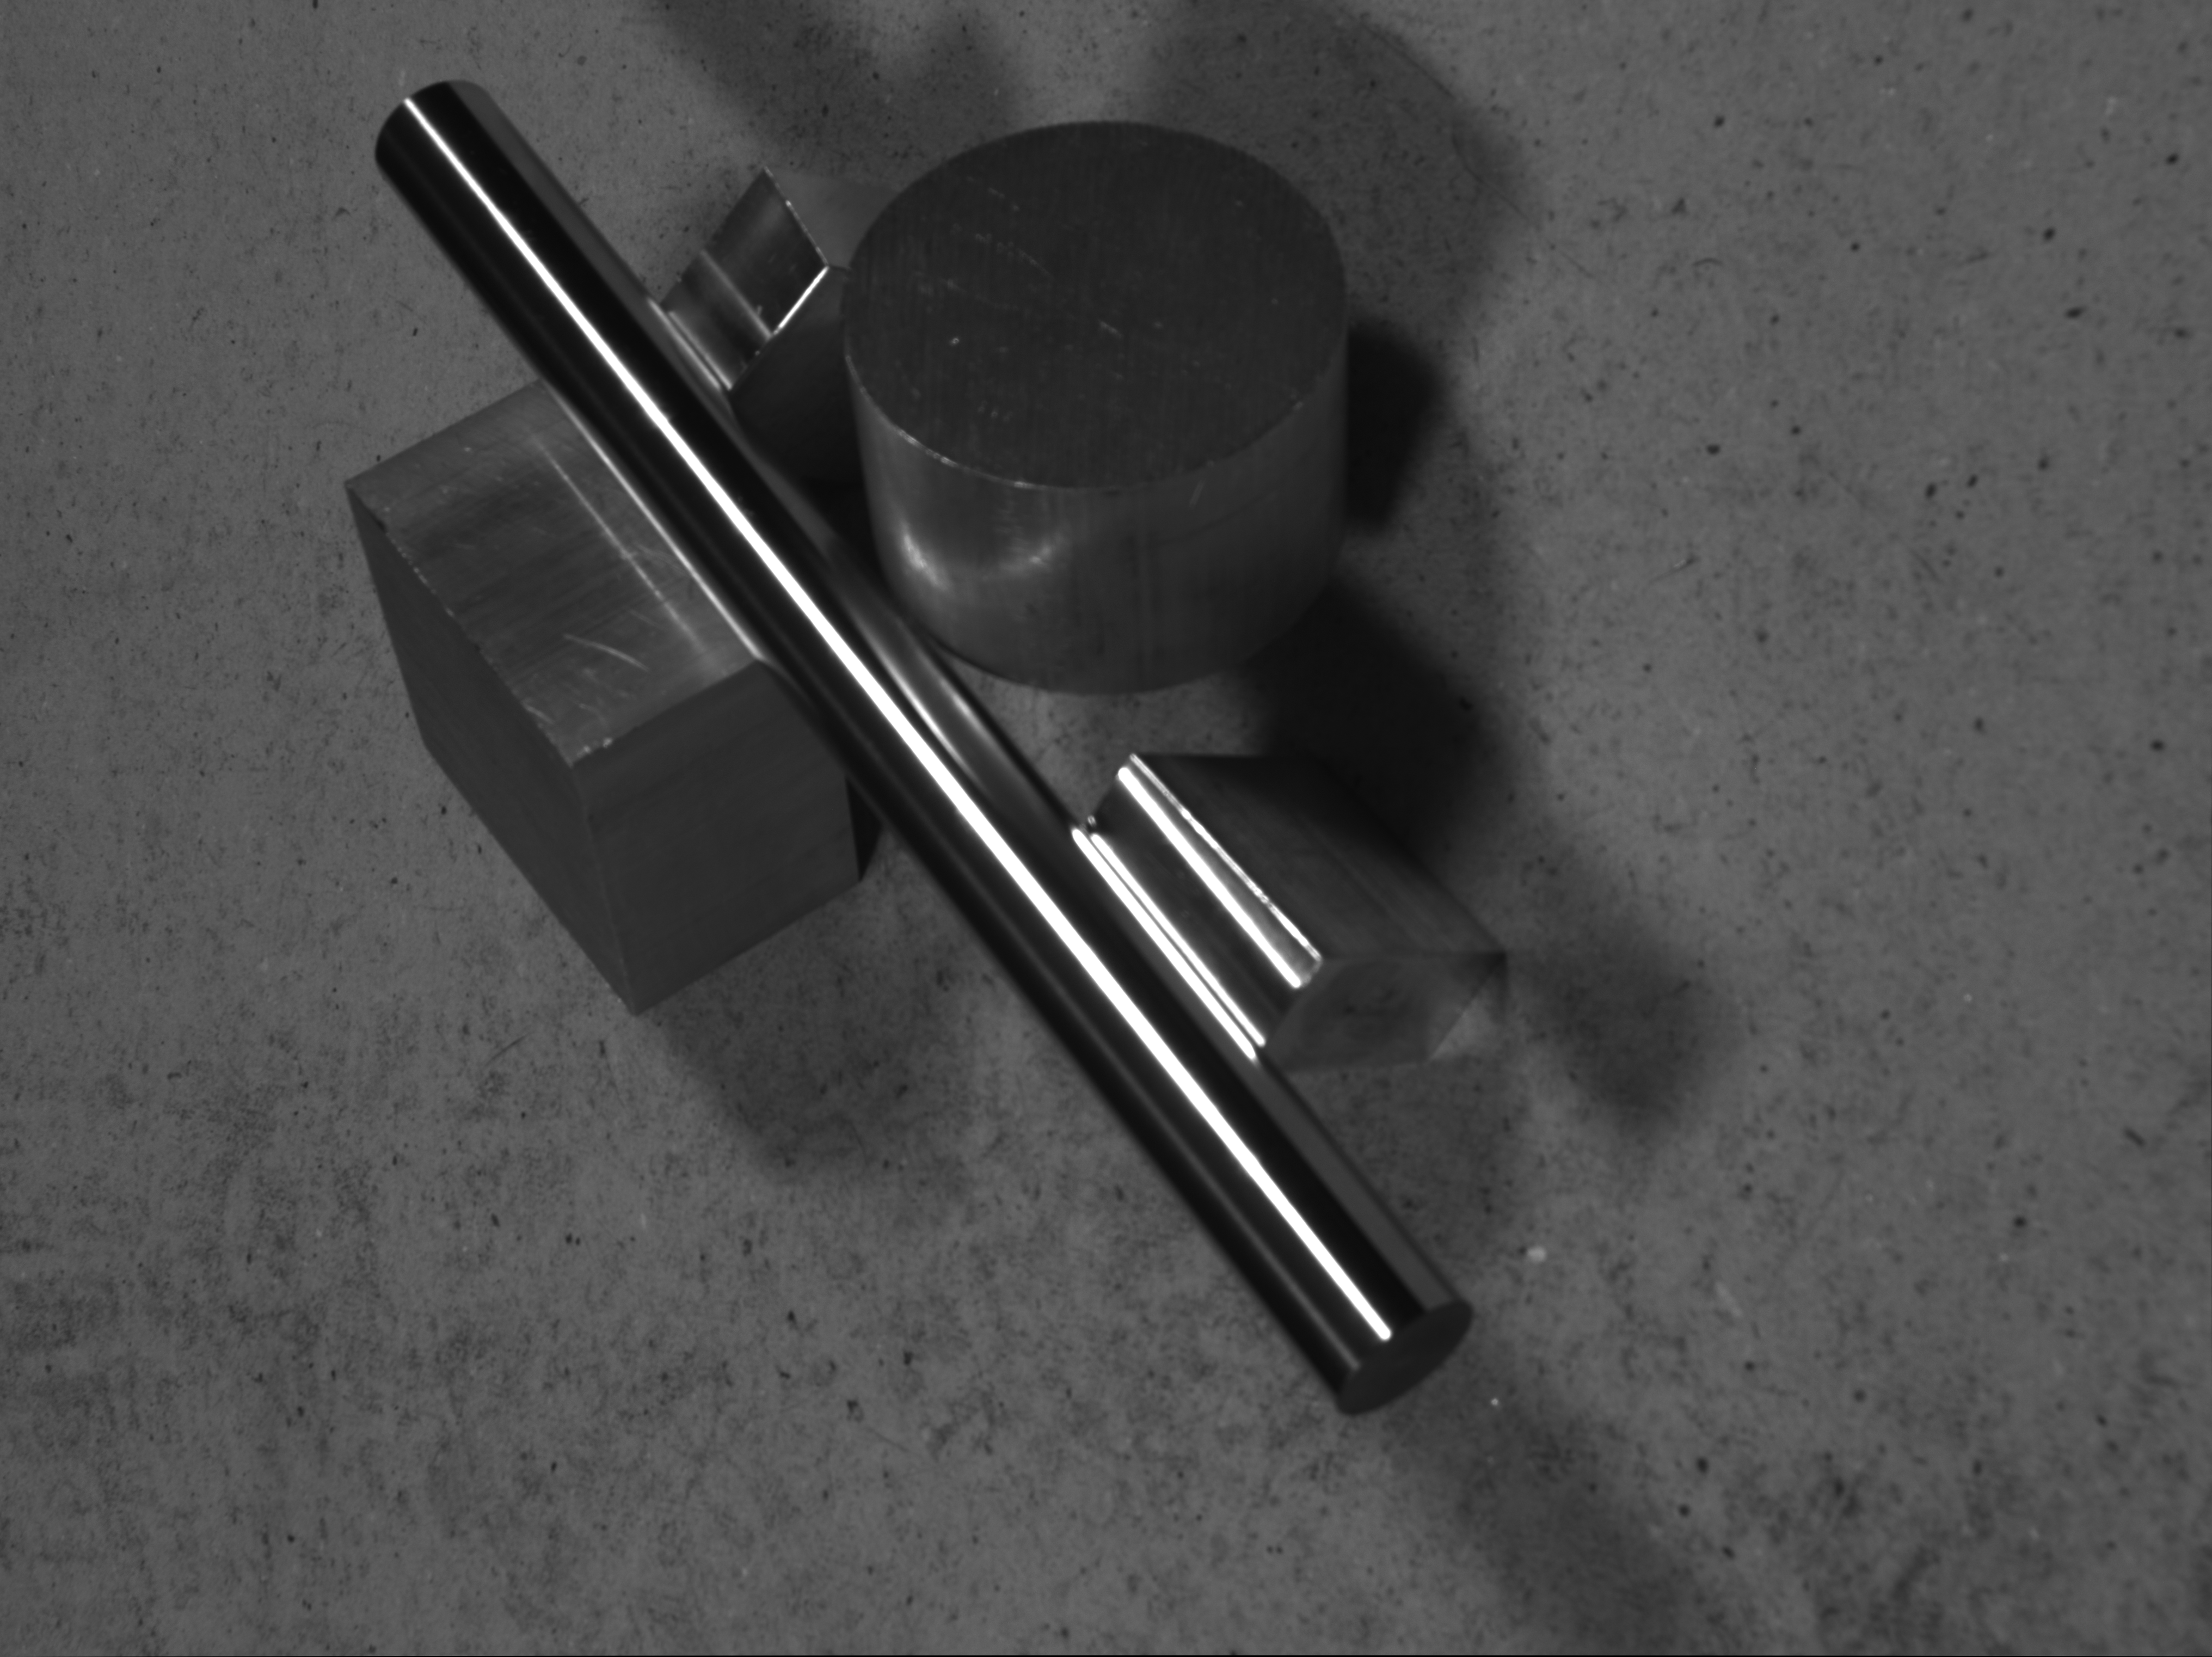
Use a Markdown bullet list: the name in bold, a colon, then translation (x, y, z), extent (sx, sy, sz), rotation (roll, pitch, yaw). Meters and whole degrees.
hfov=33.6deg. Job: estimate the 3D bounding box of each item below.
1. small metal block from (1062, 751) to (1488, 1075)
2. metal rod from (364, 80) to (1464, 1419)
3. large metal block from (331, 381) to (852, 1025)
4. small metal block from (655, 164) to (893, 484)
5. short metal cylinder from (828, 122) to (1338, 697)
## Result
- **small metal block**: translation (0.026, 0.013, 0.596), extent (0.050, 0.050, 0.025), rotation (48, 118, 29)
- **metal rod**: translation (-0.042, -0.025, 0.606), extent (0.299, 0.025, 0.025), rotation (51, 119, 27)
- **large metal block**: translation (-0.093, -0.025, 0.674), extent (0.080, 0.050, 0.080), rotation (48, 158, 29)
- **small metal block**: translation (-0.054, -0.090, 0.665), extent (0.050, 0.050, 0.025), rotation (-46, 63, 29)
- **short metal cylinder**: translation (-0.002, -0.068, 0.595), extent (0.080, 0.080, 0.050), rotation (46, 158, 30)
